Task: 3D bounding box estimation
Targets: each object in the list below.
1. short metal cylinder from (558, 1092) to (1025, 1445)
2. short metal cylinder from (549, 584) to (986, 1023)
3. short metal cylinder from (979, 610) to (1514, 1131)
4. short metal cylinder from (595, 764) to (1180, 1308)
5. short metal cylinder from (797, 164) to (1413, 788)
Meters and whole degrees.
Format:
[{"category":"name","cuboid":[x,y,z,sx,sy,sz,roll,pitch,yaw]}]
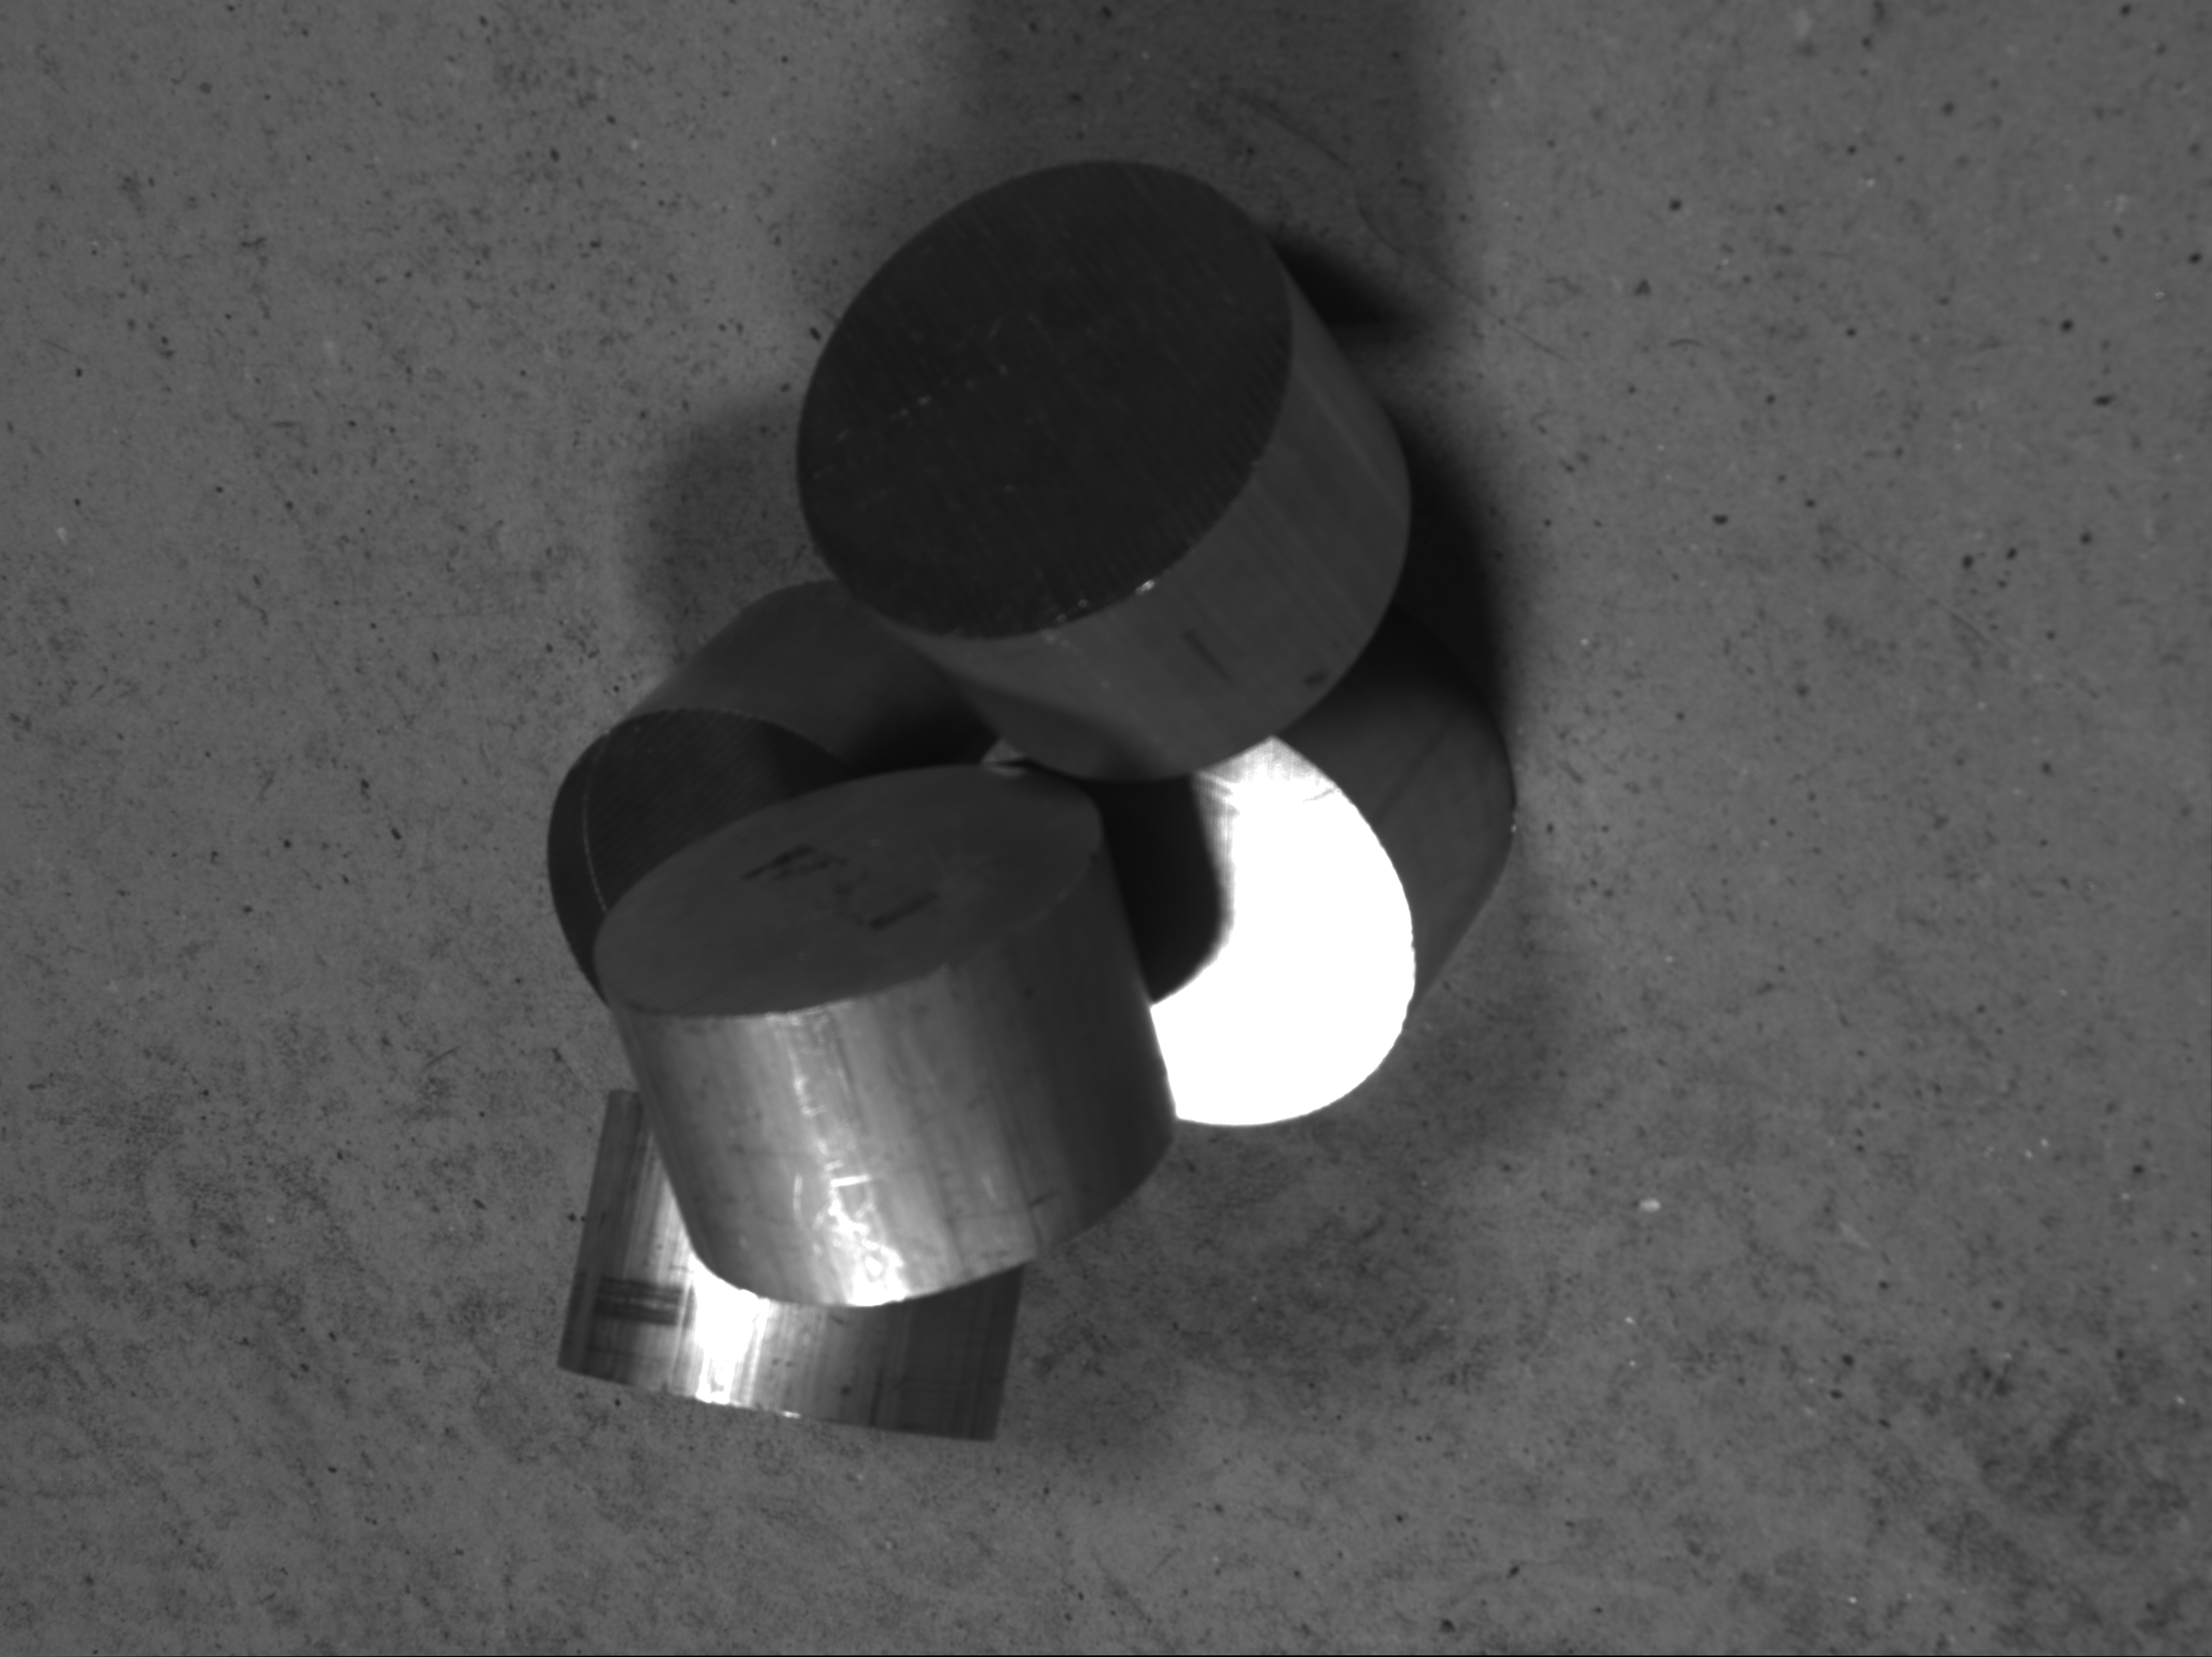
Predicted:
[{"category":"short metal cylinder","cuboid":[-0.055,0.080,0.663,0.080,0.080,0.050,7,82,23]},{"category":"short metal cylinder","cuboid":[-0.050,0.004,0.642,0.080,0.050,0.080,12,123,20]},{"category":"short metal cylinder","cuboid":[0.021,0.003,0.606,0.080,0.050,0.080,12,123,20]},{"category":"short metal cylinder","cuboid":[-0.033,0.031,0.568,0.080,0.080,0.050,-2,117,27]},{"category":"short metal cylinder","cuboid":[0.000,-0.053,0.555,0.080,0.080,0.050,1,157,26]}]
